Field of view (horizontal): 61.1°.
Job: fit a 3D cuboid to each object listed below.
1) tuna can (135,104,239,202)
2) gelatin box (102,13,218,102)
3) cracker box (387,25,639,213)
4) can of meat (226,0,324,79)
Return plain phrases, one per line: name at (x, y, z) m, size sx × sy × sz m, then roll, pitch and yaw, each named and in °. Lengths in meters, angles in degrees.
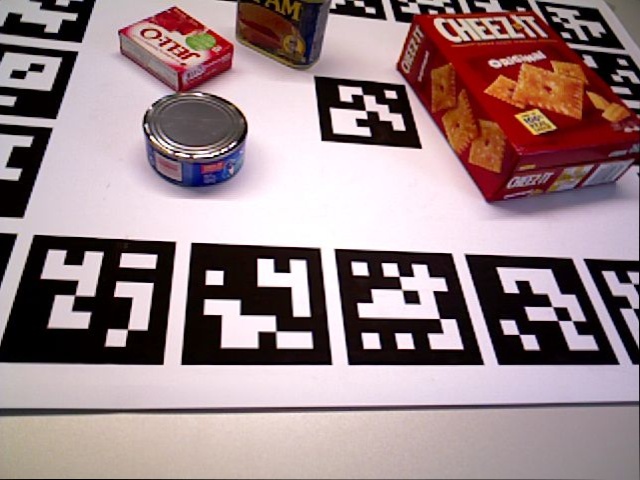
tuna can at (-0.113, -0.075, 0.466) m, size 0.085 × 0.034 × 0.084 m, roll 5°, pitch 56°, yaw -8°
gelatin box at (-0.160, -0.186, 0.547) m, size 0.089 × 0.031 × 0.071 m, roll 37°, pitch 51°, yaw 13°
cracker box at (0.194, -0.136, 0.563) m, size 0.161 × 0.074 × 0.212 m, roll -12°, pitch 55°, yaw -22°
can of meat at (-0.051, -0.231, 0.579) m, size 0.102 × 0.086 × 0.056 m, roll 25°, pitch 51°, yaw 9°
